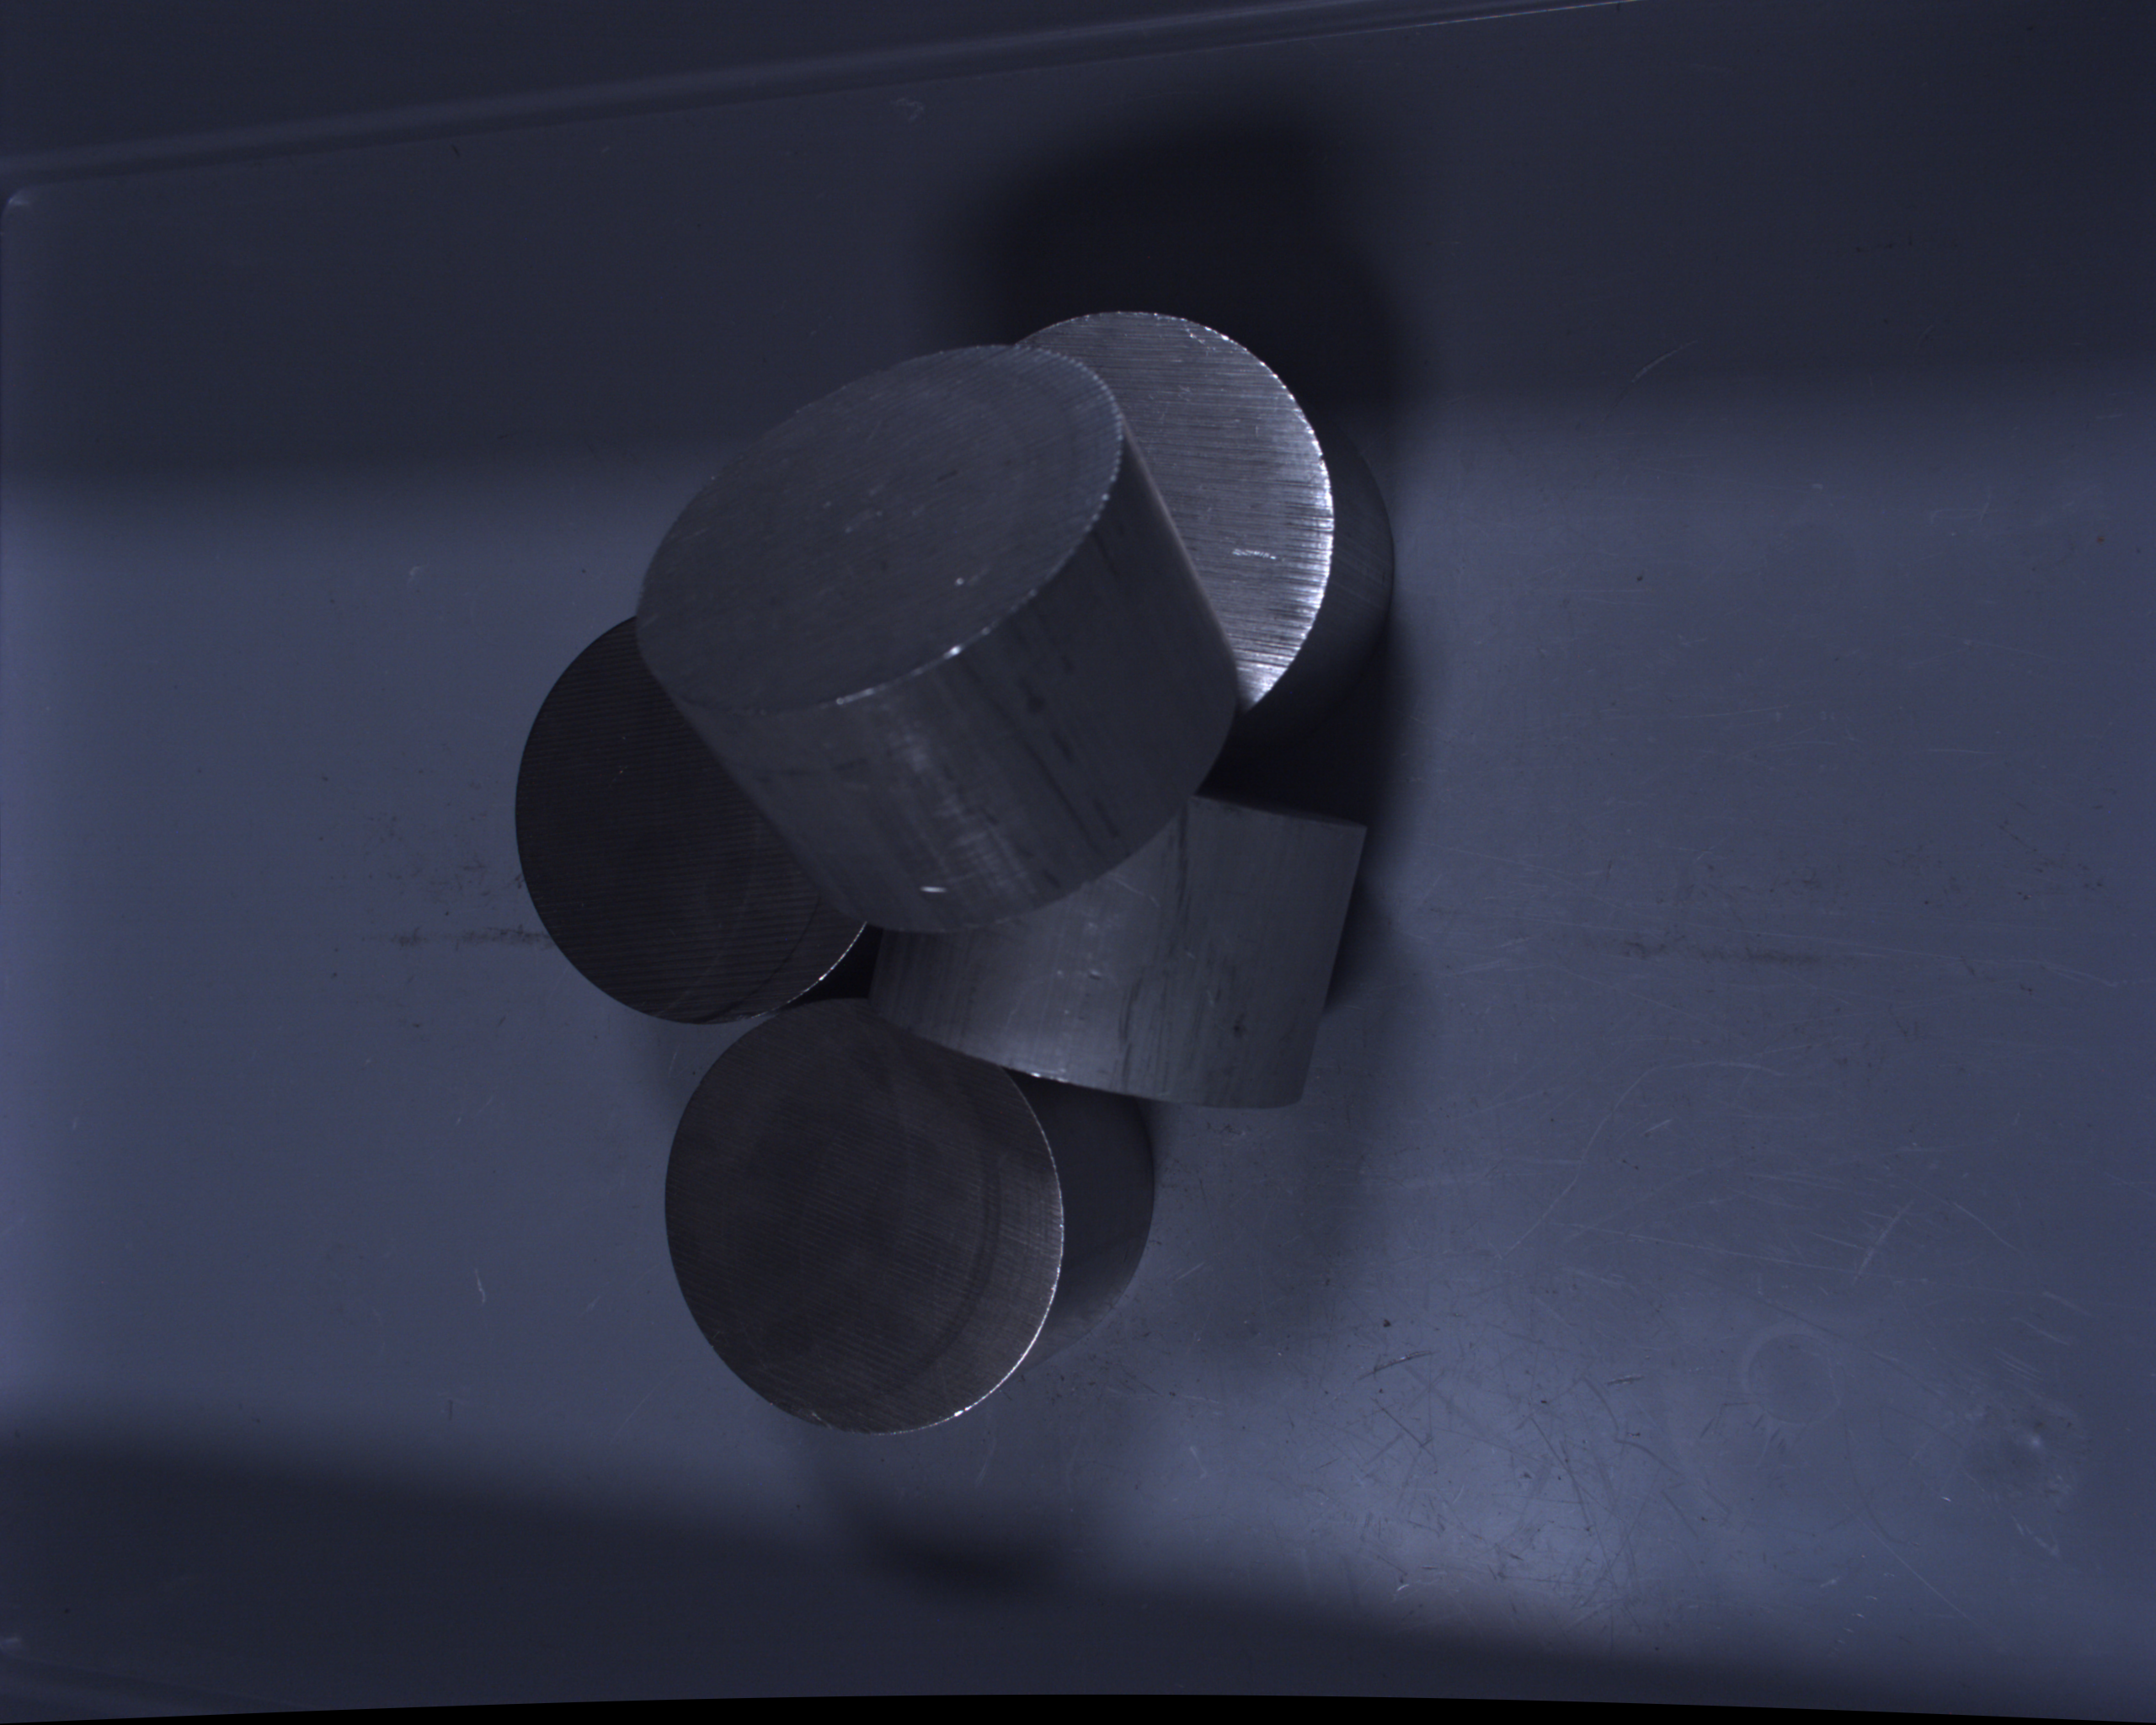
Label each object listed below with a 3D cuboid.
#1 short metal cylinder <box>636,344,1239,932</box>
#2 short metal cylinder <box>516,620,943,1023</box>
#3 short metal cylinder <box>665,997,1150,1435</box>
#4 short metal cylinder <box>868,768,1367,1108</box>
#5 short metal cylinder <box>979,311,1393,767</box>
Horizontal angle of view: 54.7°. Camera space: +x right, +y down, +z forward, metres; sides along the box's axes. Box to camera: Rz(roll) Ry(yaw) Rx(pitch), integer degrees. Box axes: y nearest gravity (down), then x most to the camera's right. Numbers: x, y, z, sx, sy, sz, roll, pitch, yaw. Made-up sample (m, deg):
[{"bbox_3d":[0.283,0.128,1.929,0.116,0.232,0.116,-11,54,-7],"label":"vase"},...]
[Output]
[{"bbox_3d":[-0.021,-0.036,0.327,0.080,0.050,0.080,-15,45,16],"label":"short metal cylinder"},{"bbox_3d":[-0.063,-0.010,0.416,0.080,0.050,0.079,0,90,19],"label":"short metal cylinder"},{"bbox_3d":[-0.032,0.065,0.405,0.080,0.050,0.079,0,90,19],"label":"short metal cylinder"},{"bbox_3d":[0.007,0.009,0.377,0.080,0.080,0.050,14,95,19],"label":"short metal cylinder"},{"bbox_3d":[0.014,-0.057,0.390,0.080,0.050,0.079,0,90,19],"label":"short metal cylinder"}]
